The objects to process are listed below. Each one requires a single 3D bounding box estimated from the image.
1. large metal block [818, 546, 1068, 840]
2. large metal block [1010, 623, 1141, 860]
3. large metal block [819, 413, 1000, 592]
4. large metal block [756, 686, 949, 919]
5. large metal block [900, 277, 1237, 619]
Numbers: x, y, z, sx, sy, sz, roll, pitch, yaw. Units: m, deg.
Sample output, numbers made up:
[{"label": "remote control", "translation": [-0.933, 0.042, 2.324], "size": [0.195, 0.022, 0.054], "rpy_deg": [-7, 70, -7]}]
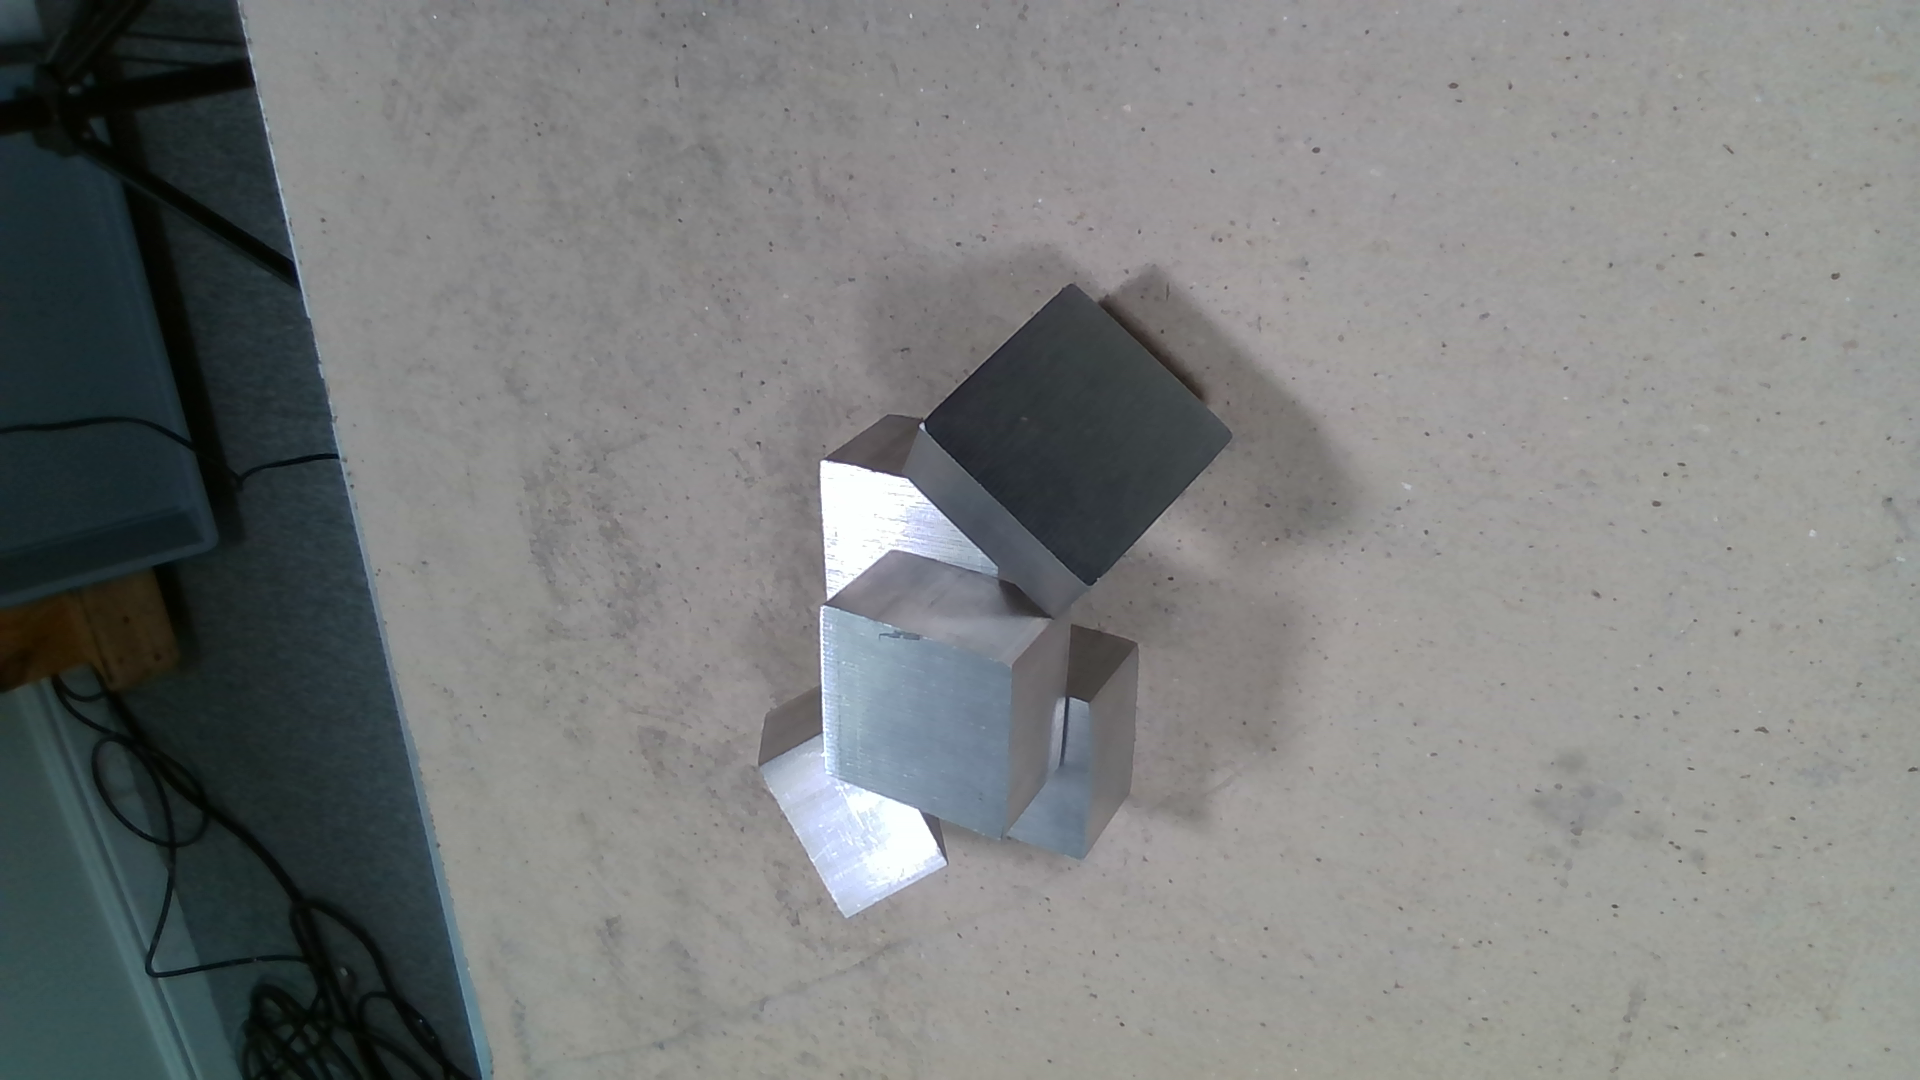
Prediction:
[{"label": "large metal block", "translation": [-0.007, 0.057, 0.532], "size": [0.080, 0.050, 0.080], "rpy_deg": [16, 123, 24]}, {"label": "large metal block", "translation": [0.029, 0.079, 0.590], "size": [0.080, 0.050, 0.080], "rpy_deg": [14, 122, 25]}, {"label": "large metal block", "translation": [-0.009, 0.001, 0.567], "size": [0.080, 0.050, 0.080], "rpy_deg": [14, 122, 25]}, {"label": "large metal block", "translation": [-0.049, 0.111, 0.627], "size": [0.050, 0.080, 0.080], "rpy_deg": [-28, 101, 0]}, {"label": "large metal block", "translation": [0.037, -0.032, 0.496], "size": [0.080, 0.080, 0.050], "rpy_deg": [44, 162, 4]}]
